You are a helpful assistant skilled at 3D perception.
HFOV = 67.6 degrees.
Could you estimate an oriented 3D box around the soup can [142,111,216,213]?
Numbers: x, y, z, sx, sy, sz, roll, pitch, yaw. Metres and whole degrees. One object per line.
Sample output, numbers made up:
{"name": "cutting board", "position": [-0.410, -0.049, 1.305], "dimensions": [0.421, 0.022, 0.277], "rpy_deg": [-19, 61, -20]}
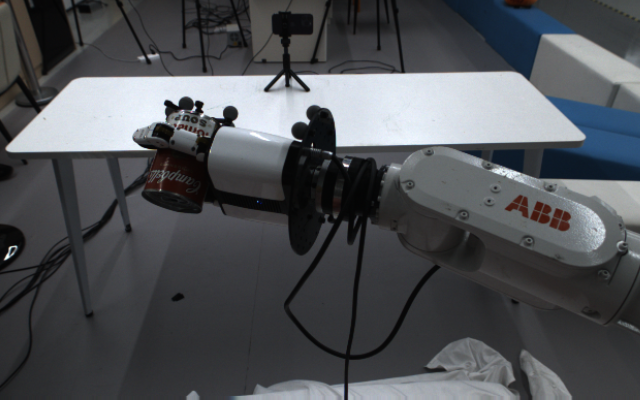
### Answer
{"name": "soup can", "position": [-0.154, -0.042, 0.552], "dimensions": [0.067, 0.067, 0.101], "rpy_deg": [9, 71, 9]}
